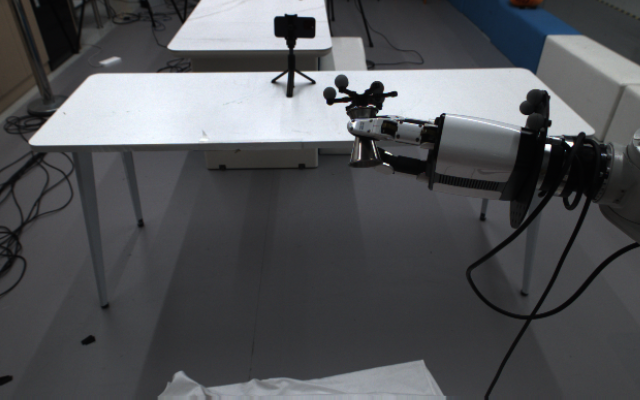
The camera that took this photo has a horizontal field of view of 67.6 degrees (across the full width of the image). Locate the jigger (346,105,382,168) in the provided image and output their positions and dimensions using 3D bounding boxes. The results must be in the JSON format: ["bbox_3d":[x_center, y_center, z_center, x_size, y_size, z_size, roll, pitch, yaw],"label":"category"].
[{"bbox_3d":[0.054,-0.078,0.598,0.043,0.071,0.043,-2,-7,0],"label":"jigger"}]
